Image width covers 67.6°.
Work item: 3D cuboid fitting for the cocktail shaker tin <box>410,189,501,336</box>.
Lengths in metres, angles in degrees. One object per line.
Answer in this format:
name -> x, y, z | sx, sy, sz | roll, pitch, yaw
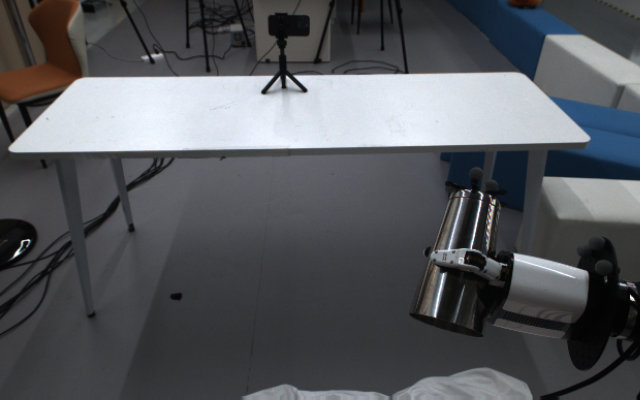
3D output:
cocktail shaker tin -> 0.181, 0.077, 0.618 | 0.093, 0.093, 0.170 | 14, 73, 16
